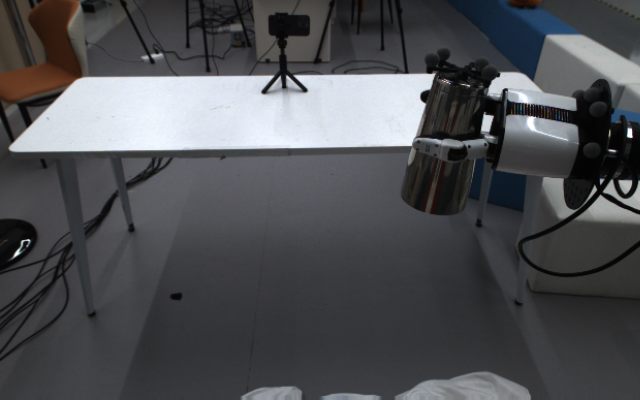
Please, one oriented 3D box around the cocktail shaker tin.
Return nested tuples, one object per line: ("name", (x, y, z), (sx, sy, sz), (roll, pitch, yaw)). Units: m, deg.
("cocktail shaker tin", (0.165, -0.077, 0.631), (0.093, 0.170, 0.093), (4, 32, -2))
